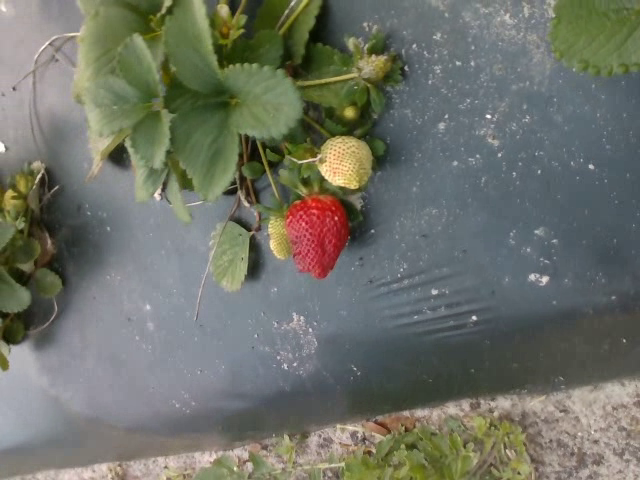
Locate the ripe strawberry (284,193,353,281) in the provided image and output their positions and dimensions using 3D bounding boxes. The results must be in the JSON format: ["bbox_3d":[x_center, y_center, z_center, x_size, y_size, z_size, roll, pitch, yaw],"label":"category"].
[{"bbox_3d":[-0.001,0.000,0.373,0.046,0.059,0.047,18,-27,-41],"label":"ripe strawberry"}]
